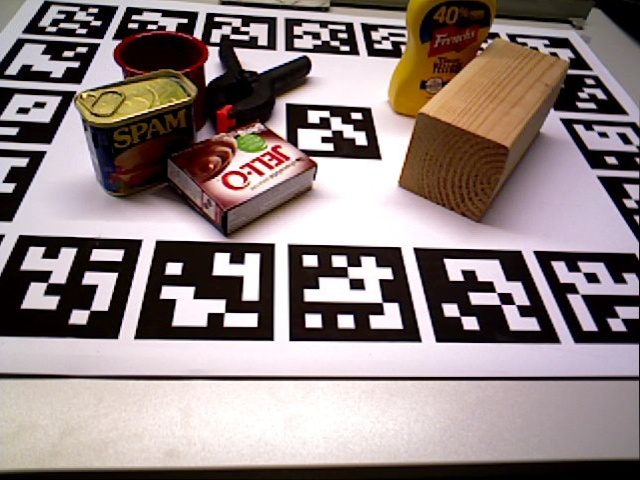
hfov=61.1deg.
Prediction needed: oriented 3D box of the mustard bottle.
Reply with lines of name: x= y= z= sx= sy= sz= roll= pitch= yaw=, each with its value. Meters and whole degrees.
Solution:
mustard bottle: x=0.135 y=-0.229 z=0.580 sx=0.095 sy=0.196 sz=0.057 roll=-2 pitch=48 yaw=-10

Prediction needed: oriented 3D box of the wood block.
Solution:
wood block: x=0.176 y=-0.114 z=0.557 sx=0.090 sy=0.093 sz=0.201 roll=28 pitch=48 yaw=20

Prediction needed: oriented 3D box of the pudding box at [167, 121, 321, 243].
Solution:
pudding box: x=-0.069 y=-0.057 z=0.502 sx=0.111 sy=0.039 sz=0.090 roll=-31 pitch=59 yaw=-33

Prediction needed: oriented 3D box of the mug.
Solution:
mug: x=-0.163 y=-0.152 z=0.579 sx=0.093 sy=0.083 sz=0.114 roll=18 pitch=49 yaw=8

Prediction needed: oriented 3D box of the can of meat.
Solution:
can of meat: x=-0.164 y=-0.095 z=0.485 sx=0.100 sy=0.086 sz=0.057 roll=-23 pitch=55 yaw=-27

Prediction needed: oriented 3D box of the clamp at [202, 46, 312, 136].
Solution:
clamp: x=-0.086 y=-0.176 z=0.618 sx=0.121 sy=0.037 sz=0.161 roll=16 pitch=49 yaw=5
